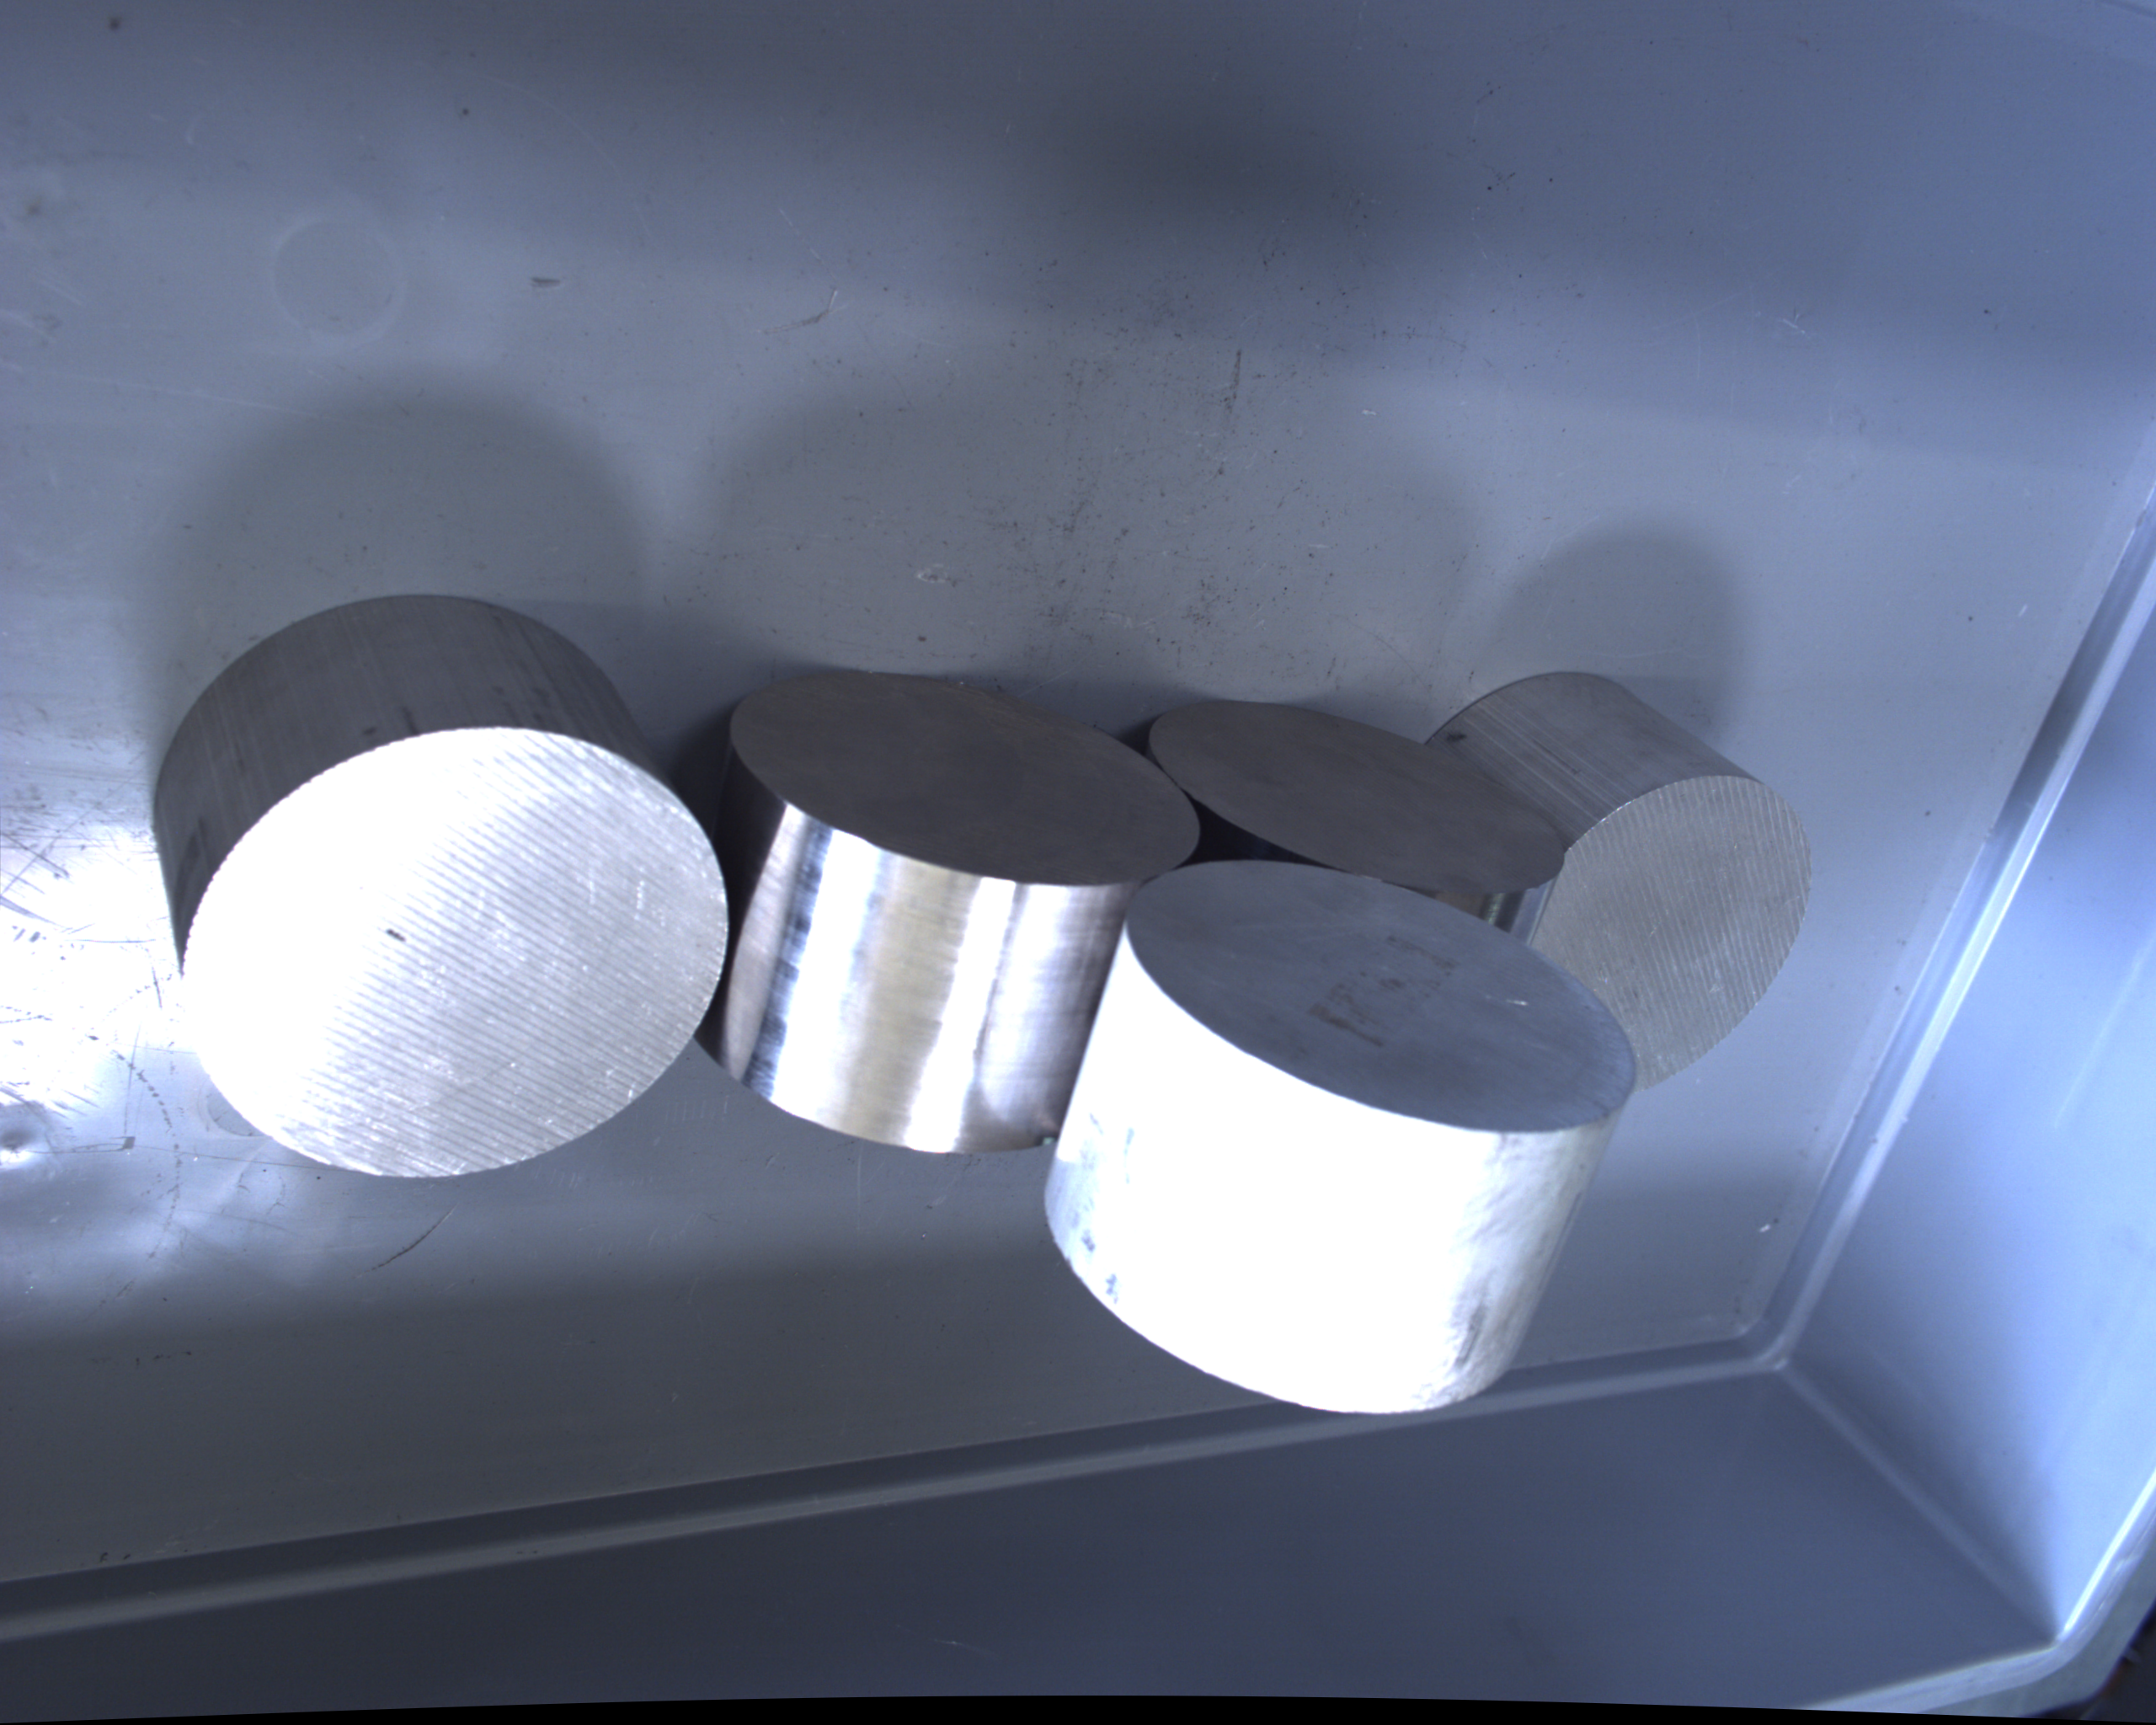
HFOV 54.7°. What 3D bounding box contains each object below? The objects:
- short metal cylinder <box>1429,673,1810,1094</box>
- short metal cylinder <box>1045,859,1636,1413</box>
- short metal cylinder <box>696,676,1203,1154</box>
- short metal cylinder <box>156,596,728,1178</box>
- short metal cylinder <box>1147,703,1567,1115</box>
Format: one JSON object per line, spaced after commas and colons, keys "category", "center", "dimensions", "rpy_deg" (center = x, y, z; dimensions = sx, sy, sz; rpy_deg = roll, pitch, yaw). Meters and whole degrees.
{"category": "short metal cylinder", "center": [0.109, 0.005, 0.453], "dimensions": [0.081, 0.050, 0.079], "rpy_deg": [-14, 124, -21]}
{"category": "short metal cylinder", "center": [0.040, 0.040, 0.329], "dimensions": [0.081, 0.080, 0.050], "rpy_deg": [2, 118, -29]}
{"category": "short metal cylinder", "center": [-0.024, 0.007, 0.361], "dimensions": [0.081, 0.080, 0.050], "rpy_deg": [2, 118, -29]}
{"category": "short metal cylinder", "center": [-0.103, 0.004, 0.336], "dimensions": [0.081, 0.050, 0.079], "rpy_deg": [-14, 124, -21]}
{"category": "short metal cylinder", "center": [0.046, 0.009, 0.401], "dimensions": [0.081, 0.080, 0.050], "rpy_deg": [2, 118, -29]}
